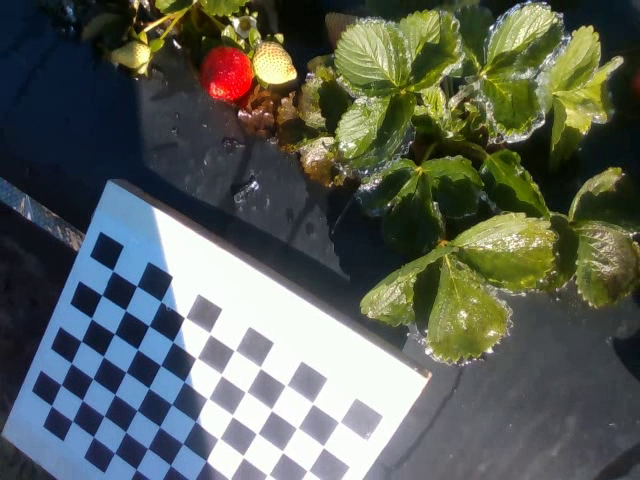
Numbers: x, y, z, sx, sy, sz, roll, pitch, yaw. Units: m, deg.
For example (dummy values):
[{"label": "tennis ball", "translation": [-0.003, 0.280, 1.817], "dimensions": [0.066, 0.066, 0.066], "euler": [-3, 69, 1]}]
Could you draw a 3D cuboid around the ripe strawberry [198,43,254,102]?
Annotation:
[{"label": "ripe strawberry", "translation": [-0.066, -0.109, 0.400], "dimensions": [0.040, 0.042, 0.053], "euler": [-6, 34, 14]}]
